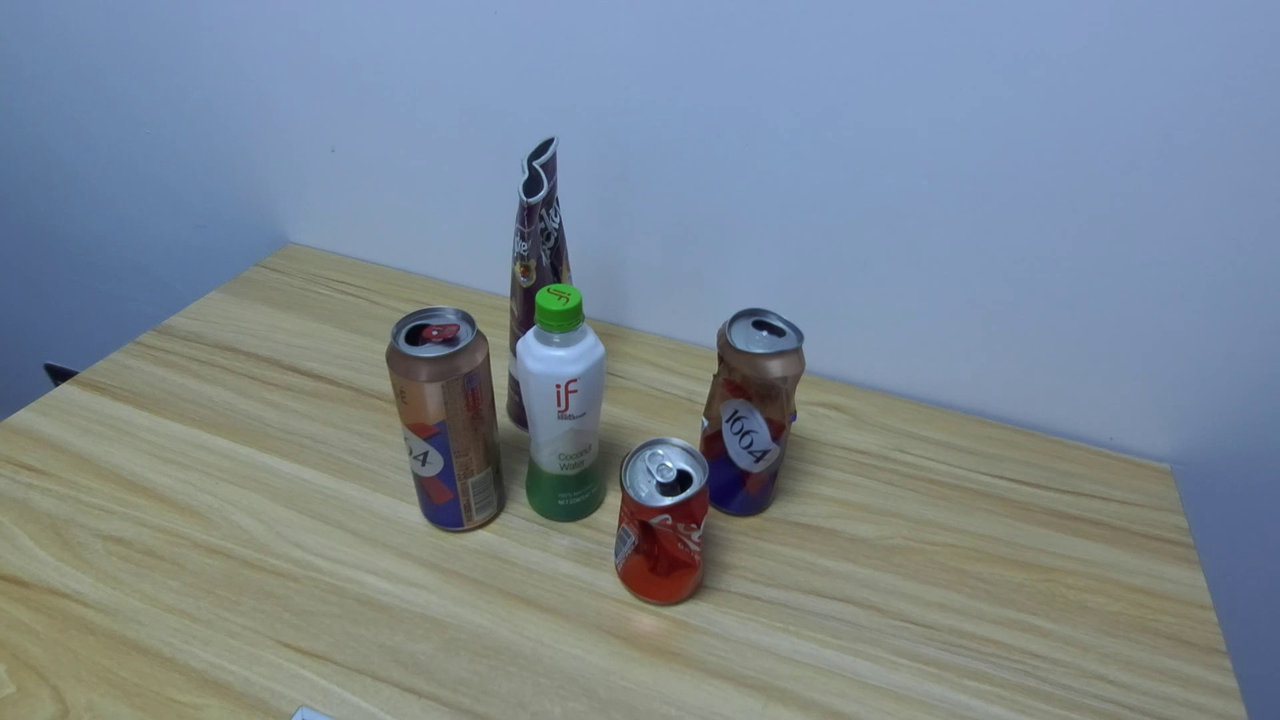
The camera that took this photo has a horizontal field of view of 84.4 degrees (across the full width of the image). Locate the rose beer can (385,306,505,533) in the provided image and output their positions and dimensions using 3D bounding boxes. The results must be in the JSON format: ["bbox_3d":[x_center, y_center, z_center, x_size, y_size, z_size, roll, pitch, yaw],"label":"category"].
[{"bbox_3d":[-0.137,0.048,0.511,0.068,0.169,0.068,1,37,-1],"label":"rose beer can"}]

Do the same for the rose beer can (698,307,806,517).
[{"bbox_3d":[0.081,0.043,0.531,0.073,0.162,0.068,18,40,16],"label":"rose beer can"}]

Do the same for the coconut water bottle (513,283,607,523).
[{"bbox_3d":[-0.056,0.033,0.512,0.063,0.189,0.063,1,38,-1],"label":"coconut water bottle"}]

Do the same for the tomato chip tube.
[{"bbox_3d":[-0.078,-0.048,0.577,0.077,0.236,0.090,33,44,32],"label":"tomato chip tube"}]

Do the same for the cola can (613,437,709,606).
[{"bbox_3d":[0.016,0.110,0.484,0.065,0.112,0.069,4,38,4],"label":"cola can"}]
